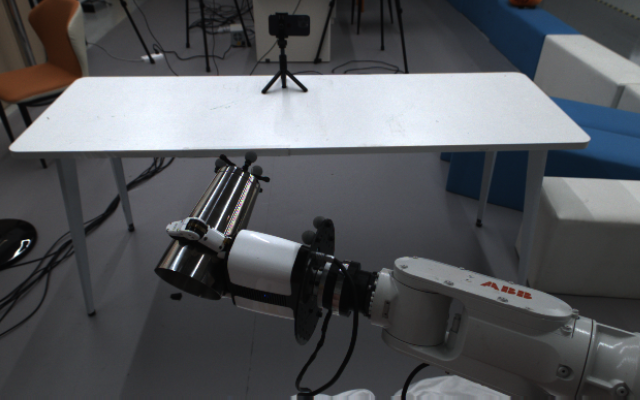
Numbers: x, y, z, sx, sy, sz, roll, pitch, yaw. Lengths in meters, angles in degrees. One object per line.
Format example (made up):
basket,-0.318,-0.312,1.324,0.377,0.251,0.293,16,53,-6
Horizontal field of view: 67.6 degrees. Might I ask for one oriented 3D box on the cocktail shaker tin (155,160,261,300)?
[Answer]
cocktail shaker tin,-0.146,0.040,0.660,0.093,0.093,0.170,13,60,16
